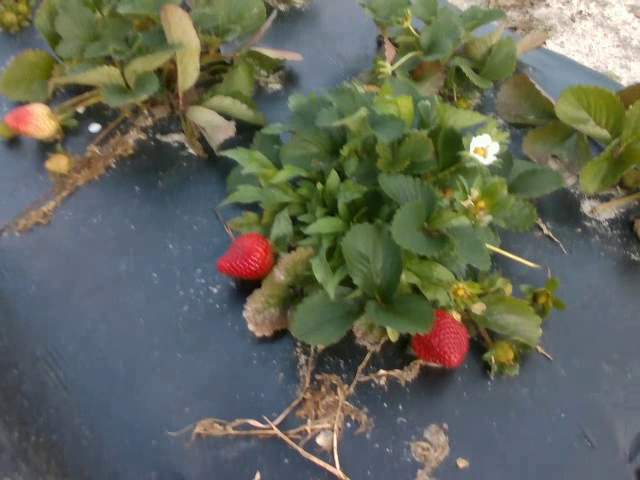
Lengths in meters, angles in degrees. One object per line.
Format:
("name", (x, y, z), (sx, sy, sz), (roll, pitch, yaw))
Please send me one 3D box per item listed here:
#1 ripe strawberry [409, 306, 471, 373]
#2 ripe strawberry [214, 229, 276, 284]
("ripe strawberry", (0.085, 0.072, 0.441), (0.043, 0.047, 0.046), (-26, 32, 2))
("ripe strawberry", (-0.060, 0.015, 0.490), (0.050, 0.043, 0.043), (-26, -32, -27))
